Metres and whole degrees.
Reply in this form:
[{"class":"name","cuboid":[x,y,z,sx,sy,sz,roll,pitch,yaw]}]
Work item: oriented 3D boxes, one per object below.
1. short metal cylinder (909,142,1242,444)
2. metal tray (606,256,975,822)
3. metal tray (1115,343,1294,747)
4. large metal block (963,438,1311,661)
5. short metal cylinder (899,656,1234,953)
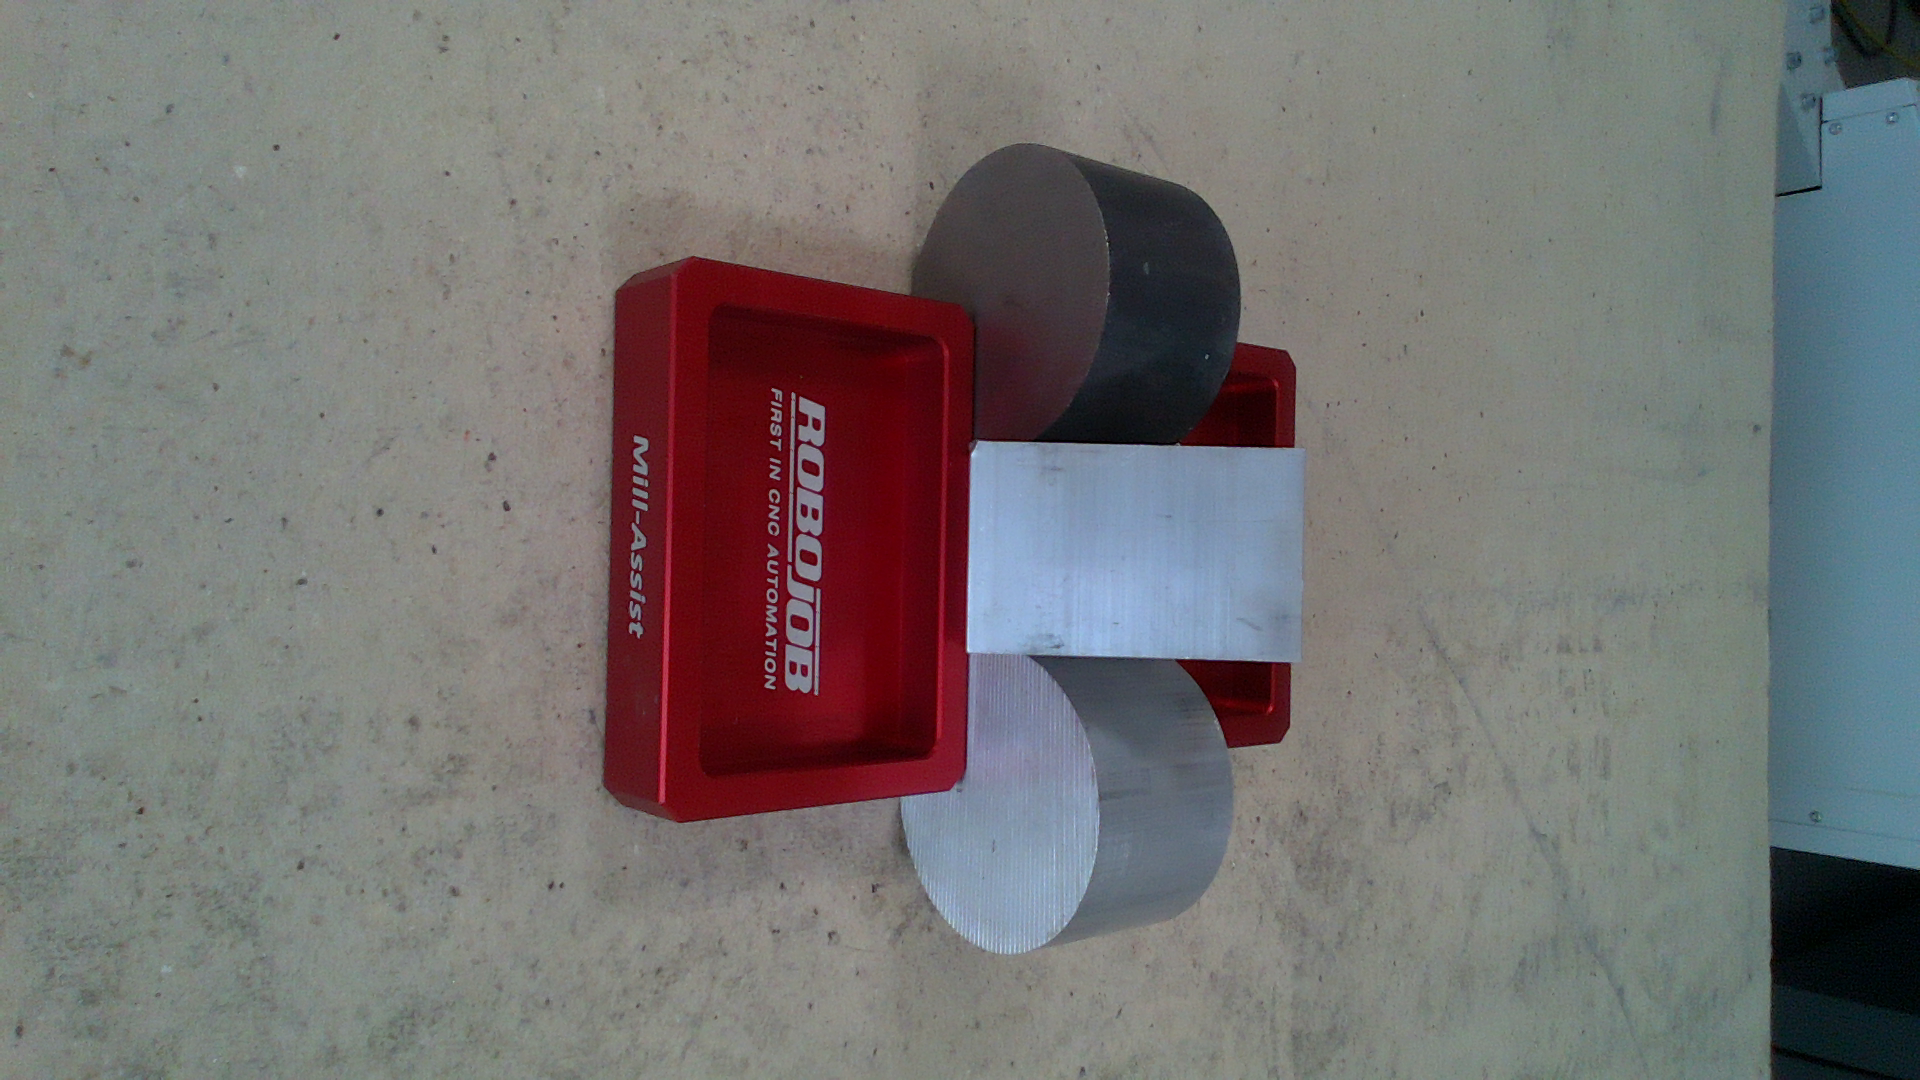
[{"class":"short metal cylinder","cuboid":[0.030,-0.063,0.378,0.050,0.080,0.080,3,88,-40]},{"class":"metal tray","cuboid":[-0.041,0.001,0.352,0.090,0.030,0.130,2,89,-40]},{"class":"metal tray","cuboid":[0.067,0.001,0.442,0.090,0.030,0.130,2,89,-40]},{"class":"large metal block","cuboid":[0.042,0.003,0.361,0.080,0.080,0.050,2,90,0]},{"class":"short metal cylinder","cuboid":[0.027,0.068,0.376,0.050,0.080,0.080,3,88,-40]}]
